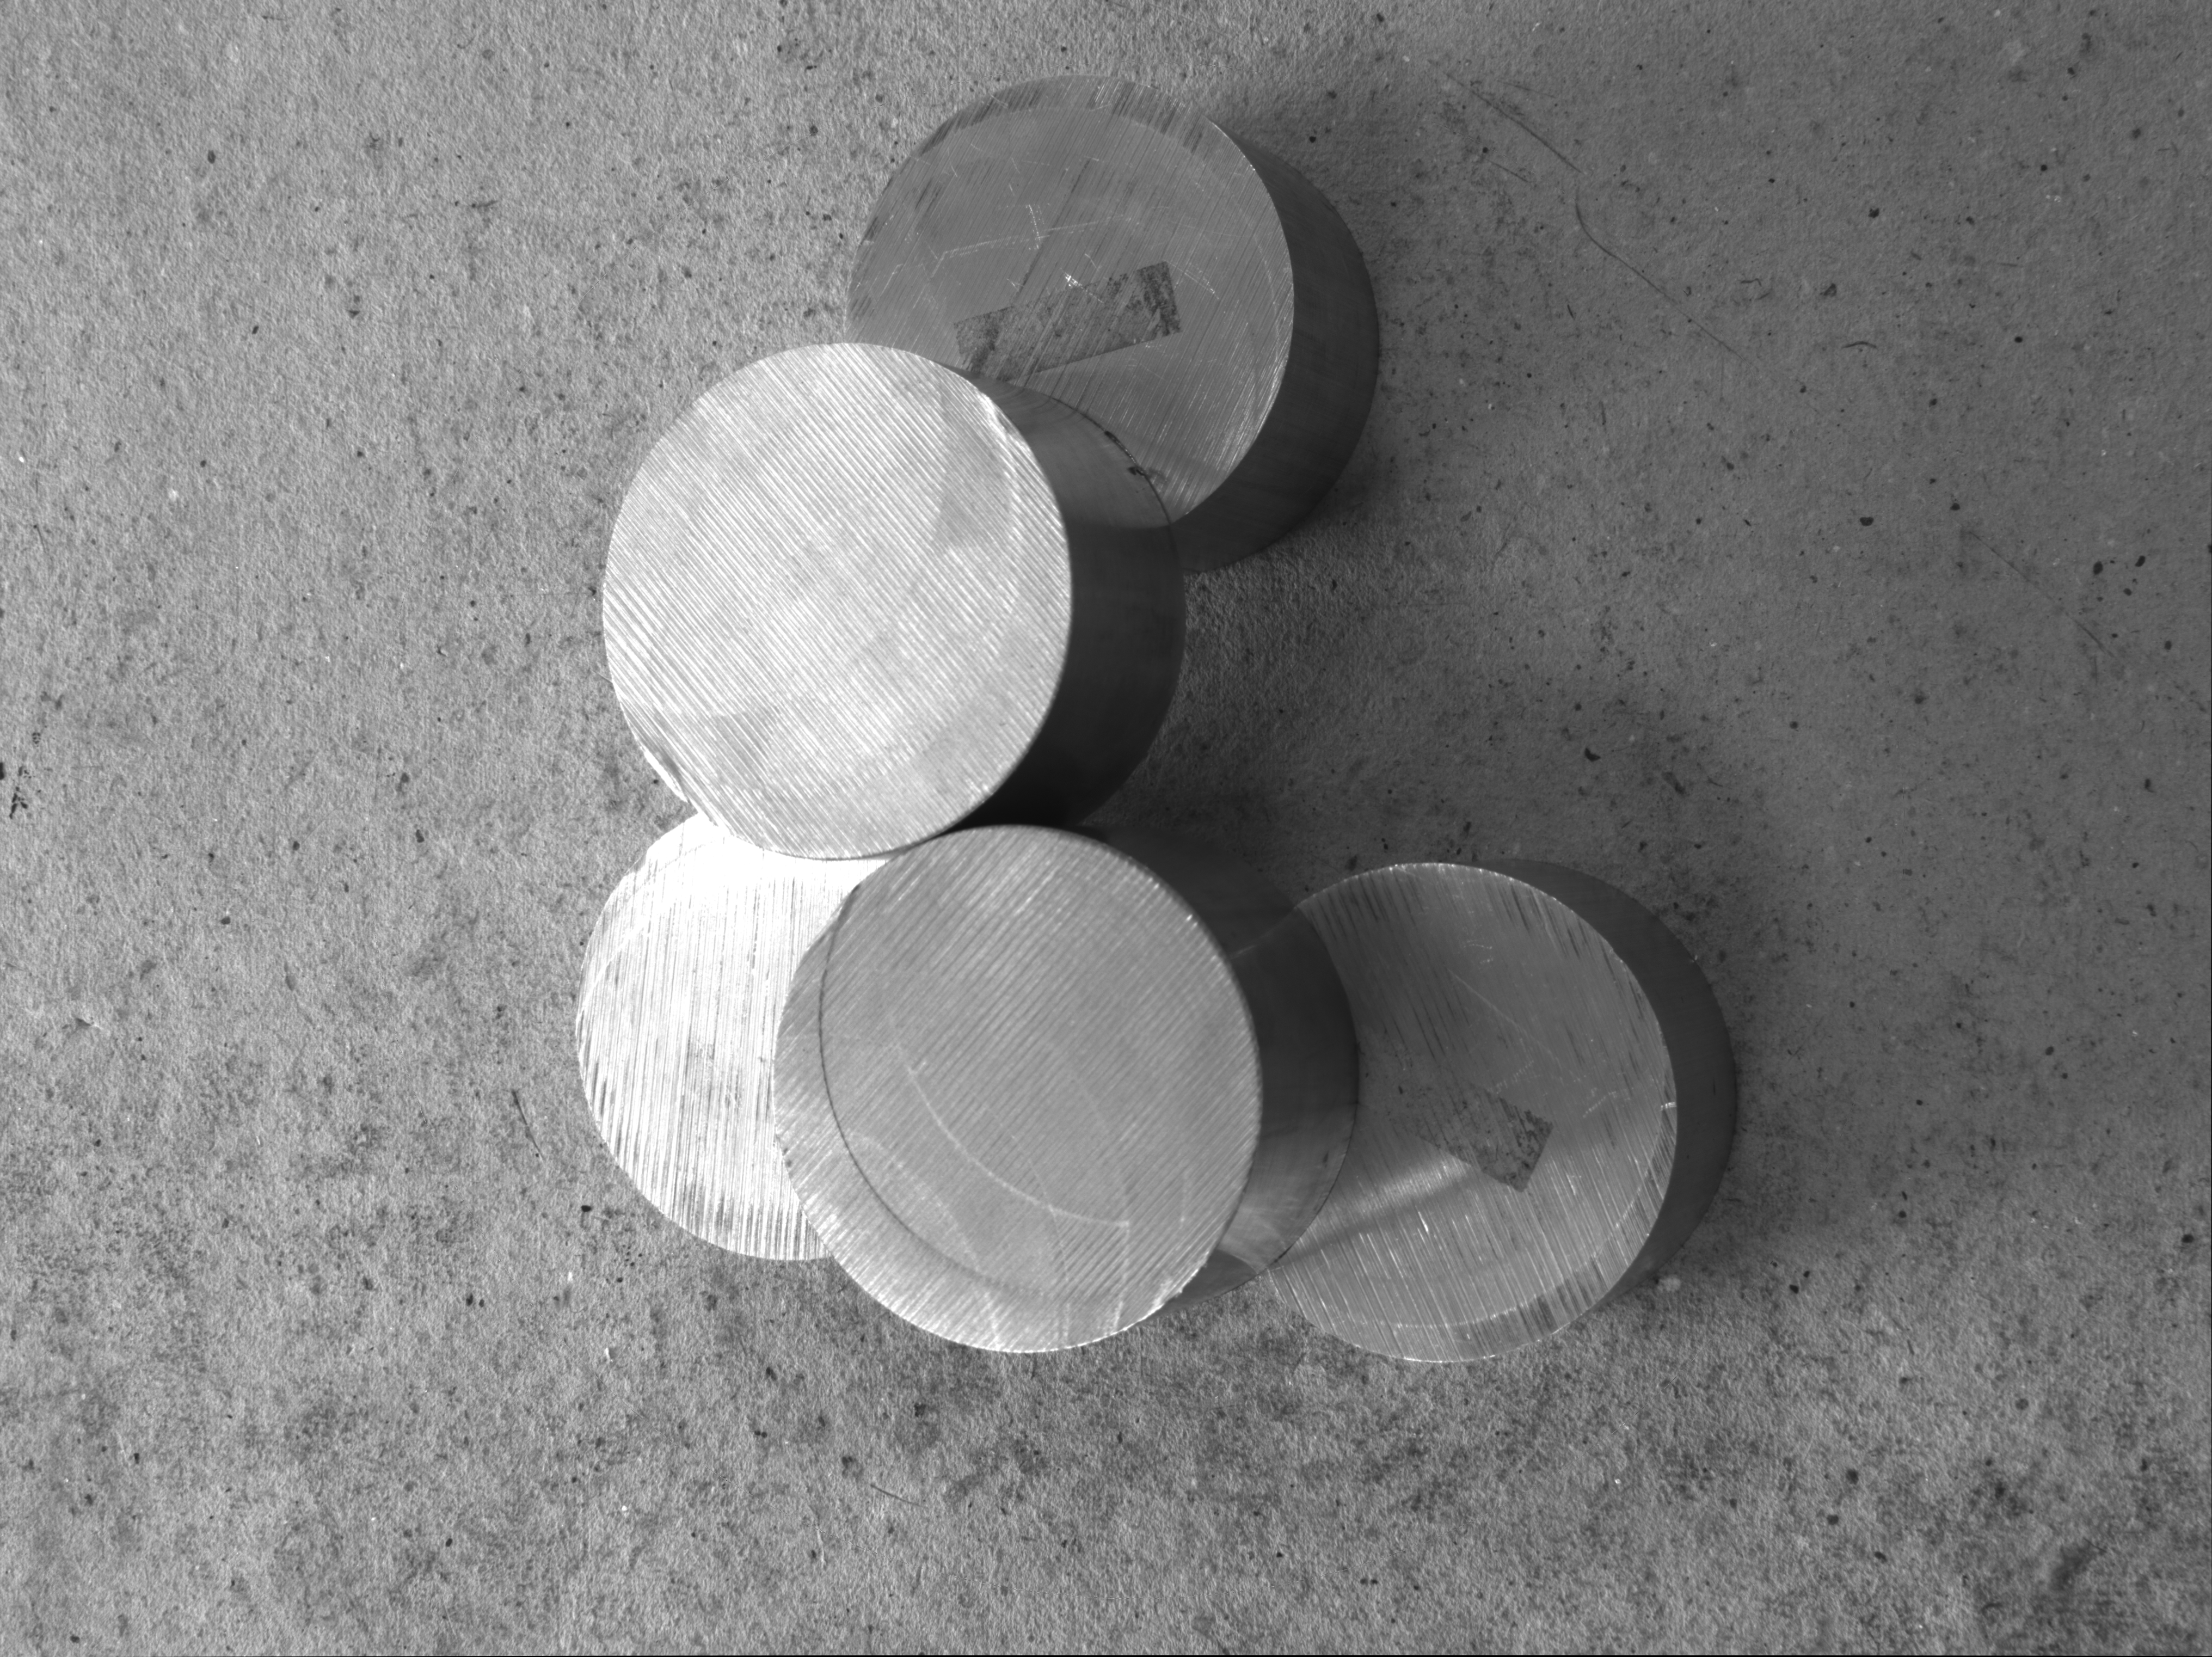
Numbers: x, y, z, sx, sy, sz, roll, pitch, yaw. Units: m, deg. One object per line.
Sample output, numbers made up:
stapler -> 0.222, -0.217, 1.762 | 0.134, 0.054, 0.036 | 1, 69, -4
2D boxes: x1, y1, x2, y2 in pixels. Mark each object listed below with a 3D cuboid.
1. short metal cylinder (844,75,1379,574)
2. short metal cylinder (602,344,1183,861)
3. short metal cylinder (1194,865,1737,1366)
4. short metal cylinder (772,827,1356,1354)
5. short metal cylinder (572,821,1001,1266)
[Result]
short metal cylinder -> 0.002, -0.085, 0.633 | 0.080, 0.050, 0.080 | 0, 90, 20
short metal cylinder -> -0.034, -0.035, 0.591 | 0.080, 0.050, 0.080 | 0, 90, 20
short metal cylinder -> 0.061, 0.046, 0.611 | 0.080, 0.050, 0.080 | 0, 90, 20
short metal cylinder -> -0.006, 0.040, 0.581 | 0.080, 0.050, 0.080 | 0, 90, 20
short metal cylinder -> -0.047, 0.035, 0.650 | 0.080, 0.050, 0.080 | 0, 90, 20
